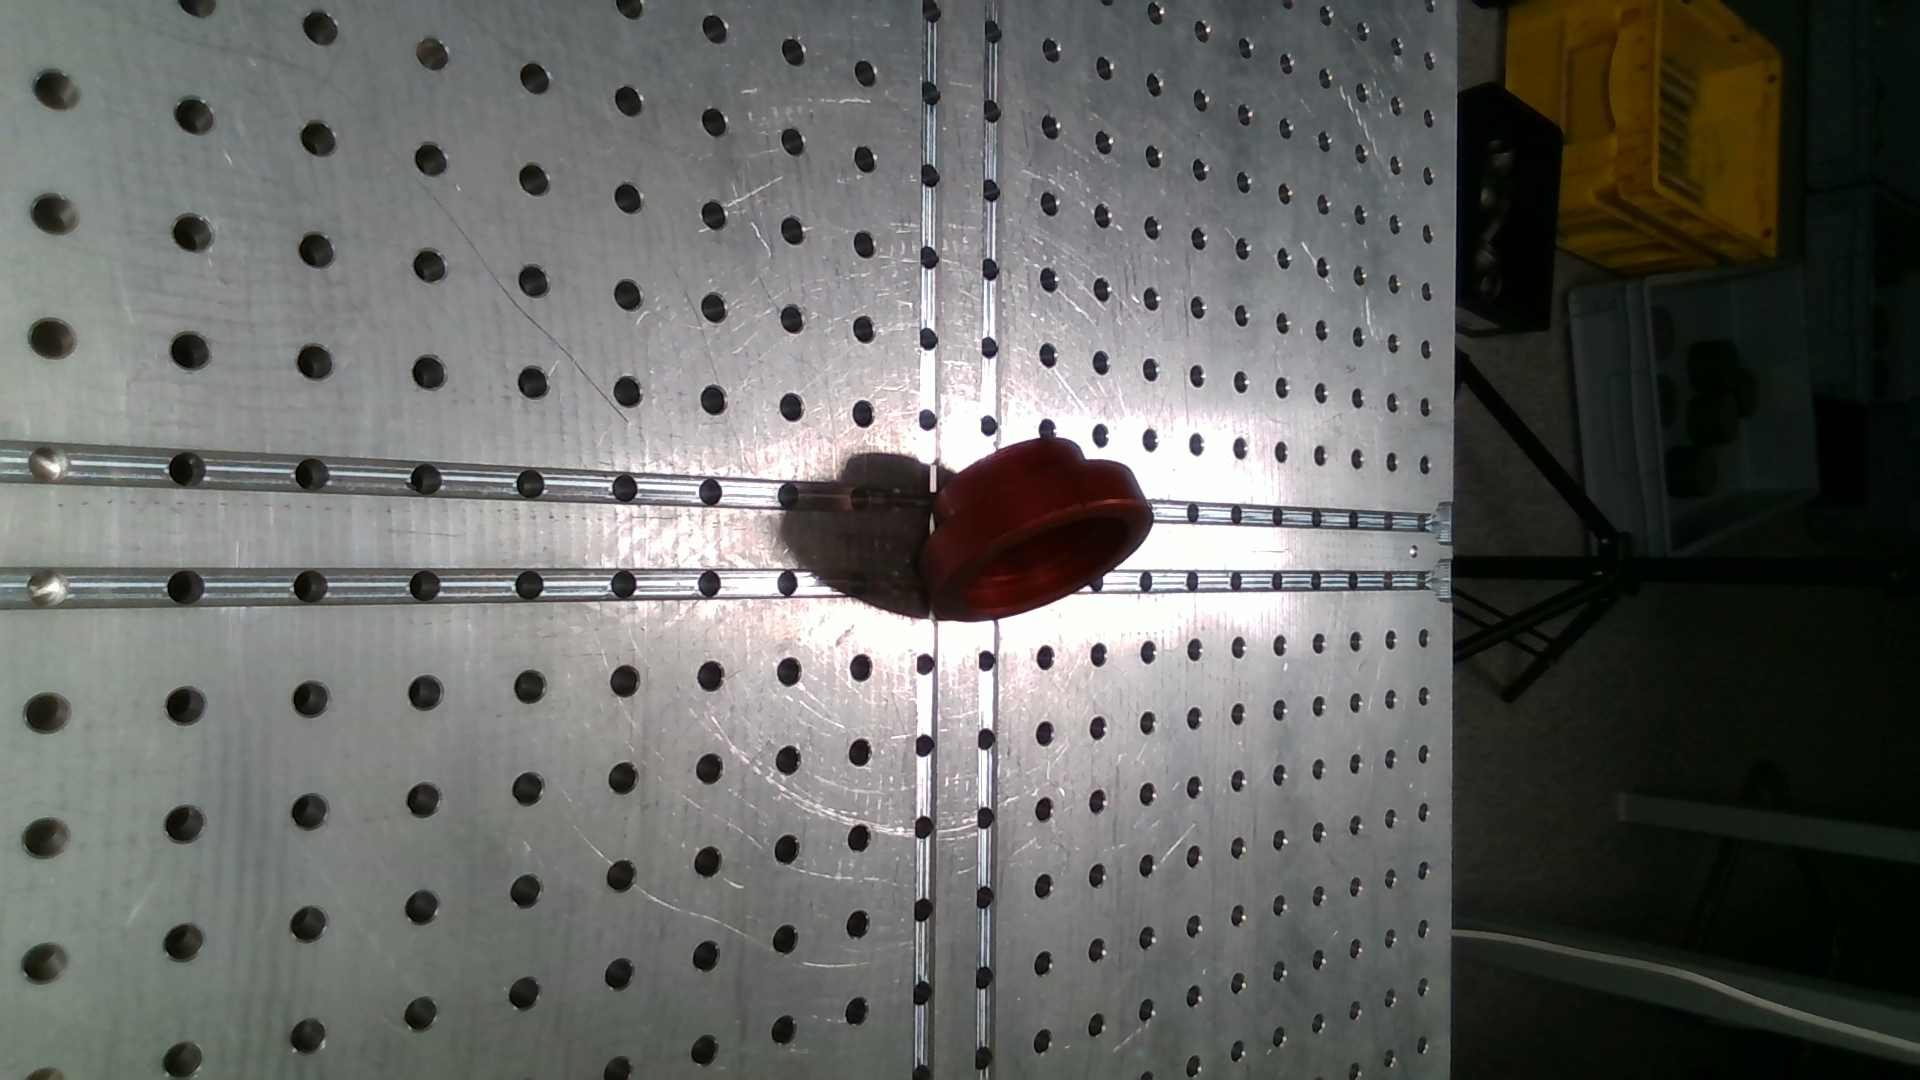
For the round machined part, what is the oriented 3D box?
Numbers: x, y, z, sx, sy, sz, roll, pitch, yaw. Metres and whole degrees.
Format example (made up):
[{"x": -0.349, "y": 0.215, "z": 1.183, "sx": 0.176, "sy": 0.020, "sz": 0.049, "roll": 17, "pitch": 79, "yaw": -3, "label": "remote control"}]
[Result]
[{"x": 0.028, "y": -0.008, "z": 0.574, "sx": 0.098, "sy": 0.098, "sz": 0.042, "roll": -3, "pitch": 60, "yaw": -40, "label": "round machined part"}]
